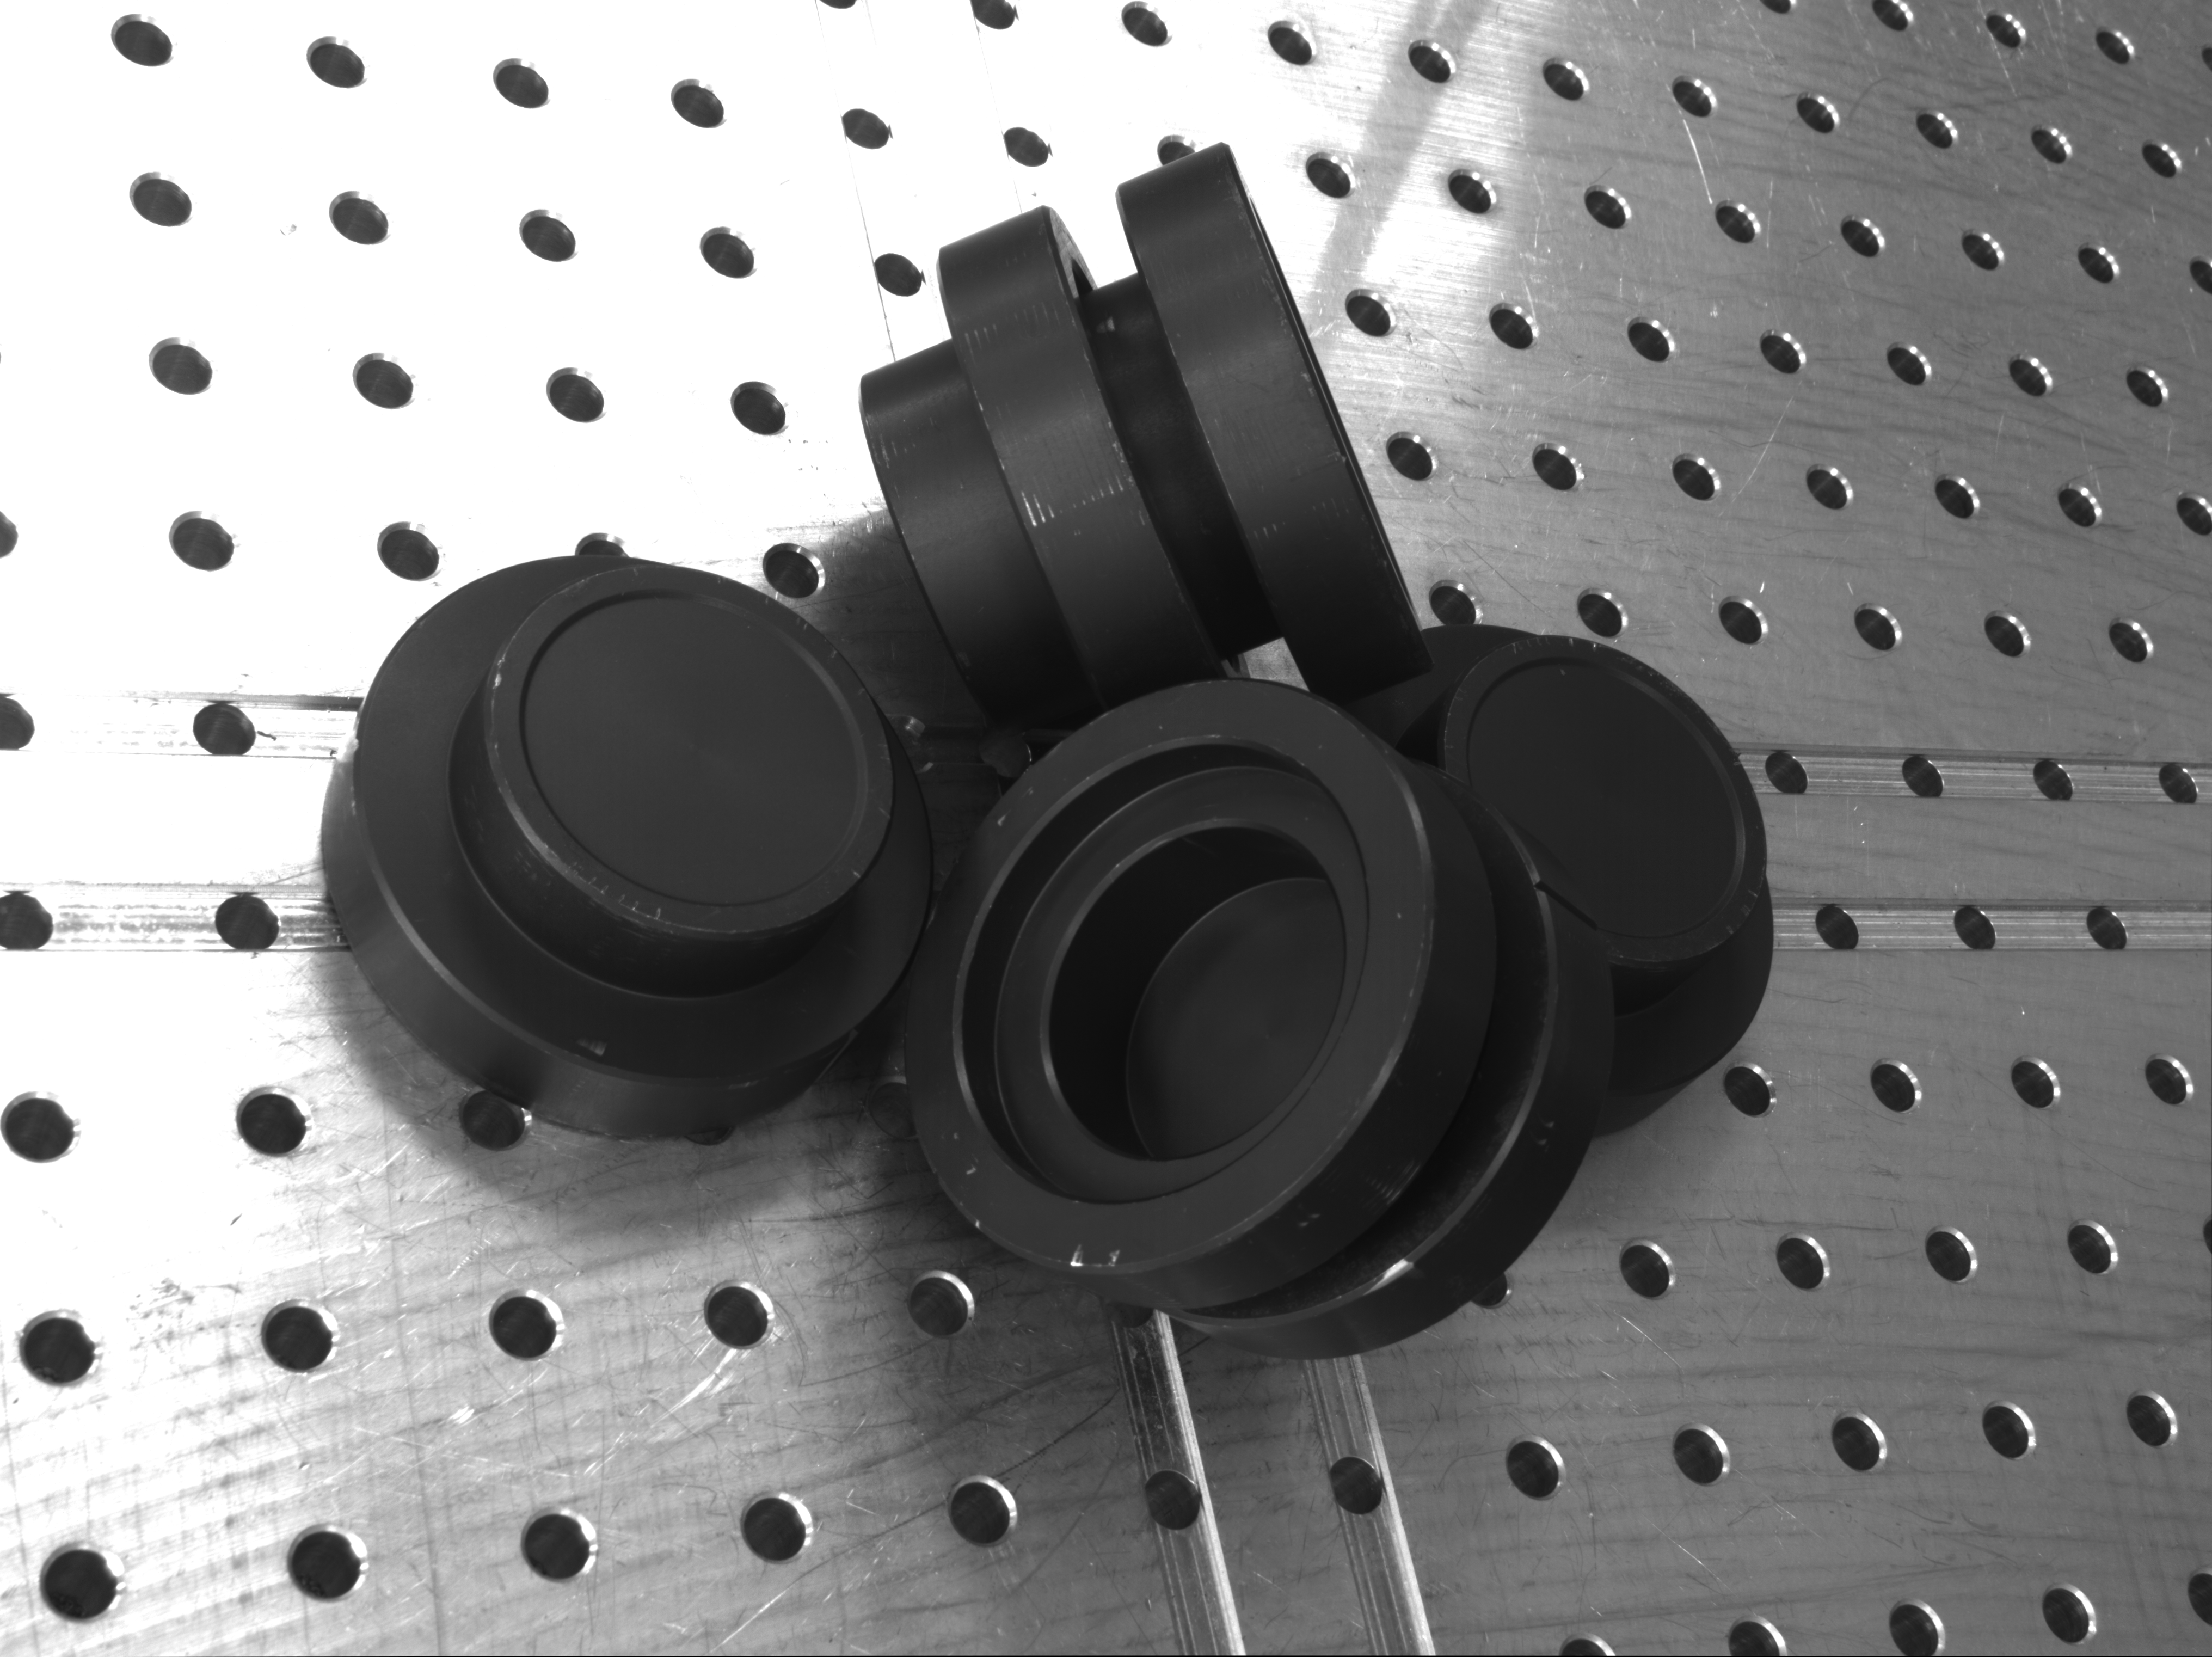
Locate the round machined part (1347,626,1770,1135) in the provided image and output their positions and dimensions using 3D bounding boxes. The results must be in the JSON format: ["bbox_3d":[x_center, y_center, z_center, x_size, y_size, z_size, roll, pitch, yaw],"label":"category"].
[{"bbox_3d":[0.080,0.004,0.672,0.098,0.042,0.098,13,56,-21],"label":"round machined part"}]

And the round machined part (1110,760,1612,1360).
[{"bbox_3d":[0.040,0.040,0.604,0.042,0.098,0.098,35,43,-47],"label":"round machined part"}]

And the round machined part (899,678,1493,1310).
[{"bbox_3d":[0.019,0.029,0.582,0.042,0.098,0.098,34,43,-48],"label":"round machined part"}]

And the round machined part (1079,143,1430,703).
[{"bbox_3d":[0.019,-0.066,0.637,0.042,0.098,0.098,-22,68,6],"label":"round machined part"}]

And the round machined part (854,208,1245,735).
[{"bbox_3d":[-0.011,-0.055,0.638,0.042,0.098,0.098,-22,68,6],"label":"round machined part"}]

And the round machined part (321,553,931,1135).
[{"bbox_3d":[-0.073,-0.003,0.594,0.098,0.042,0.098,13,56,-21],"label":"round machined part"}]
